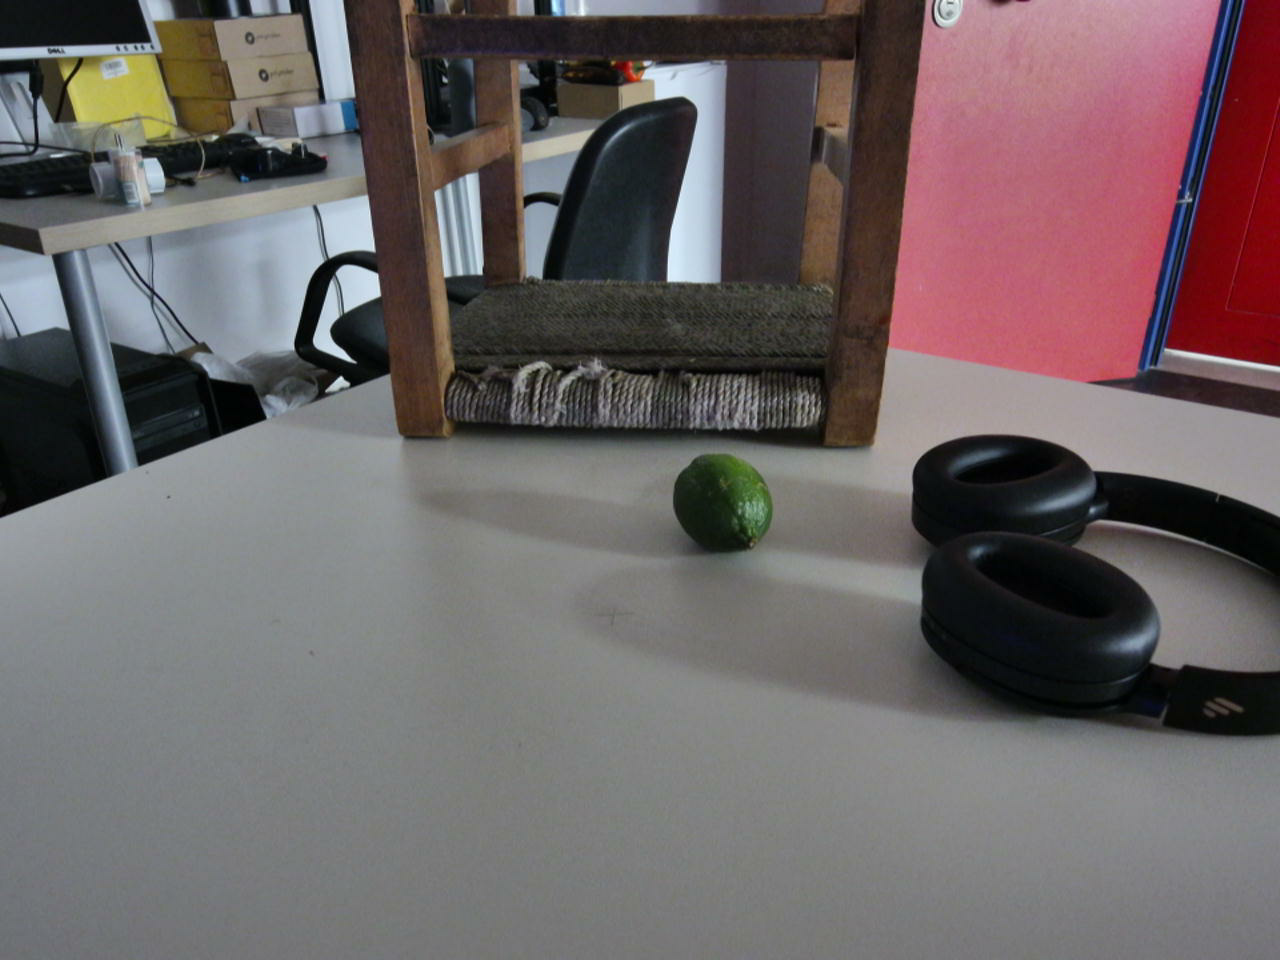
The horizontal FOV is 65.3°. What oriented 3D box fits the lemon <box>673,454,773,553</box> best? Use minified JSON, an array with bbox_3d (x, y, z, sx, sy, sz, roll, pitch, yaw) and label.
[{"bbox_3d":[0.046,0.012,0.543,0.057,0.051,0.054,14,29,30],"label":"lemon"}]
